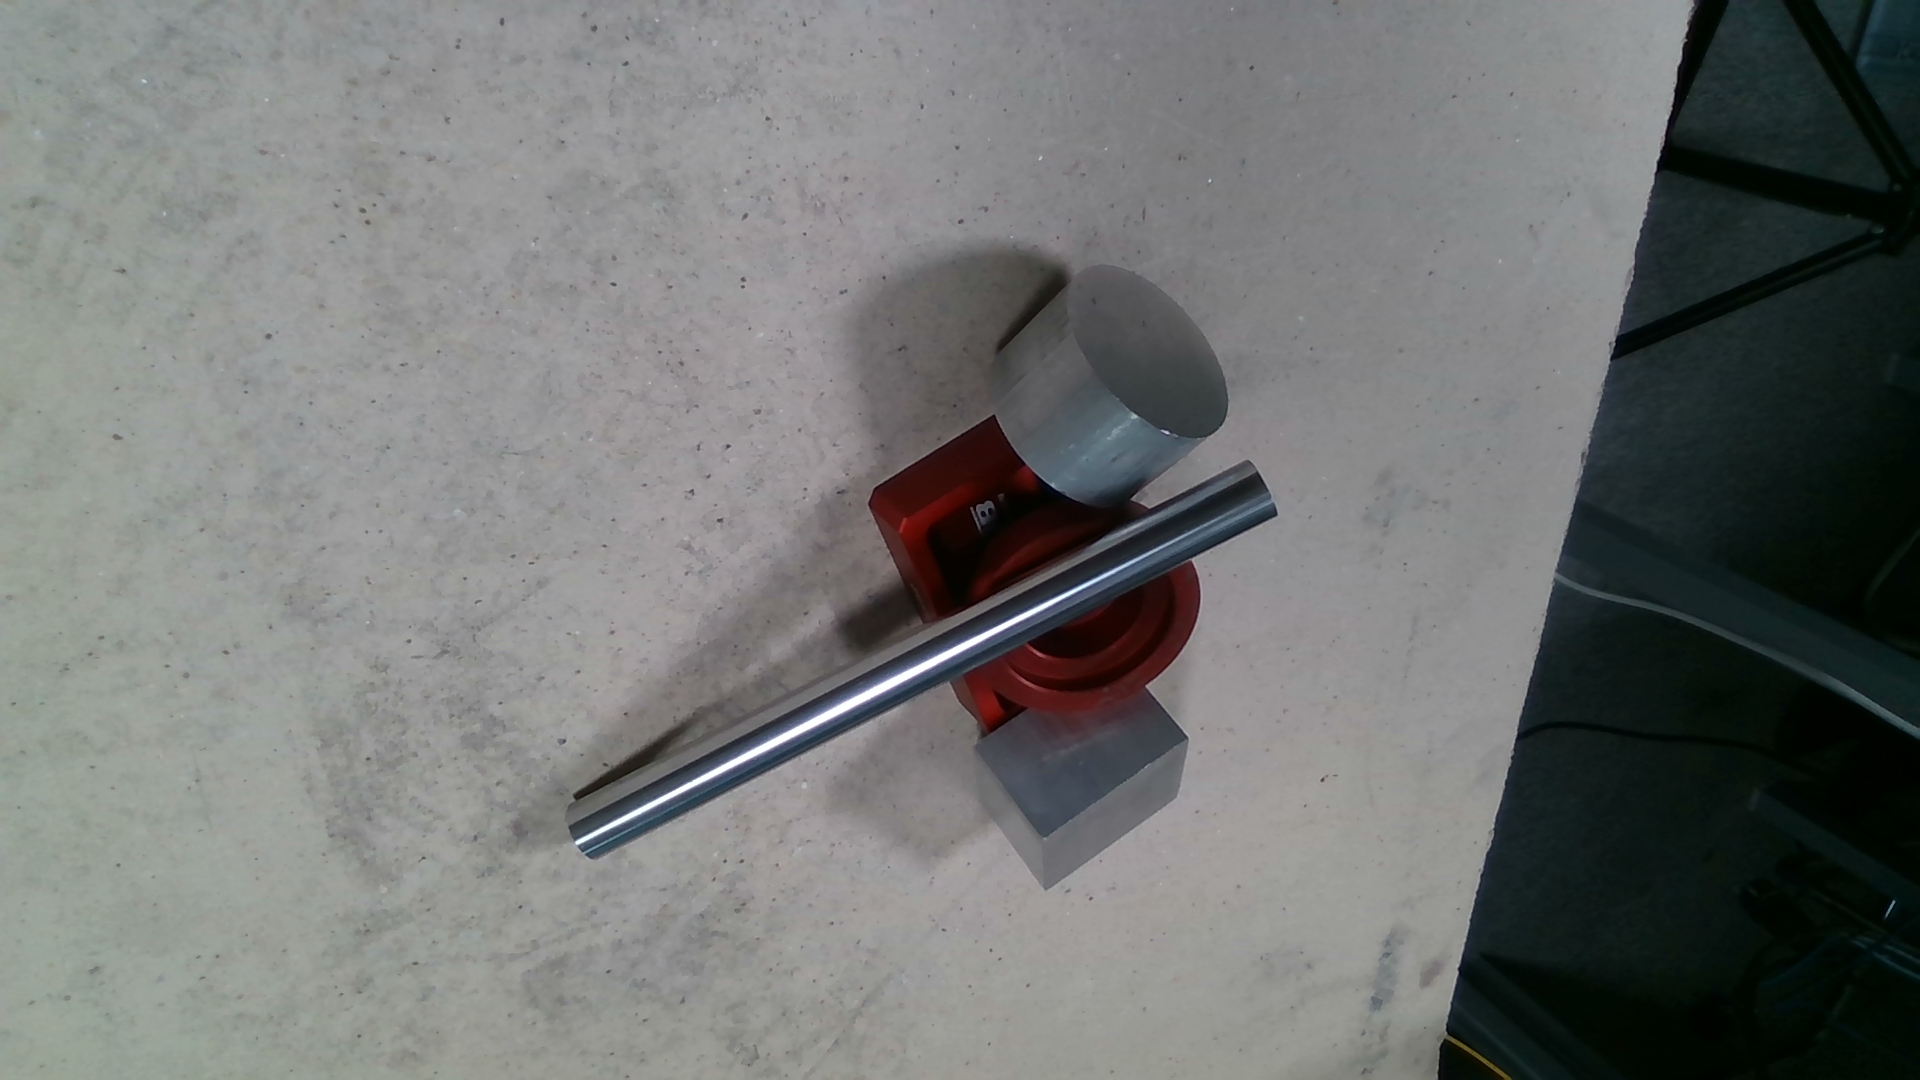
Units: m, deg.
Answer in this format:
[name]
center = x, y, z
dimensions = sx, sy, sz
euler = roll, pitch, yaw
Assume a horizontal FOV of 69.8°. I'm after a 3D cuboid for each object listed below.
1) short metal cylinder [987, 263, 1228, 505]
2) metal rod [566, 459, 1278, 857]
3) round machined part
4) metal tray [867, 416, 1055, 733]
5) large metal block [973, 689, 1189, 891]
[short metal cylinder]
center = 0.058, -0.061, 0.540
dimensions = 0.080, 0.080, 0.050
euler = 11, 144, -35
[metal rod]
center = -0.017, 0.048, 0.540
dimensions = 0.300, 0.025, 0.025
euler = -27, 128, 4
[round machined part]
center = 0.048, 0.022, 0.581
dimensions = 0.098, 0.042, 0.098
euler = -7, 124, -11
[metal tray]
center = 0.024, 0.012, 0.599
dimensions = 0.090, 0.030, 0.130
euler = -32, 127, -13
[large metal block]
center = 0.055, 0.108, 0.635
dimensions = 0.080, 0.050, 0.080
euler = -32, 153, -13
